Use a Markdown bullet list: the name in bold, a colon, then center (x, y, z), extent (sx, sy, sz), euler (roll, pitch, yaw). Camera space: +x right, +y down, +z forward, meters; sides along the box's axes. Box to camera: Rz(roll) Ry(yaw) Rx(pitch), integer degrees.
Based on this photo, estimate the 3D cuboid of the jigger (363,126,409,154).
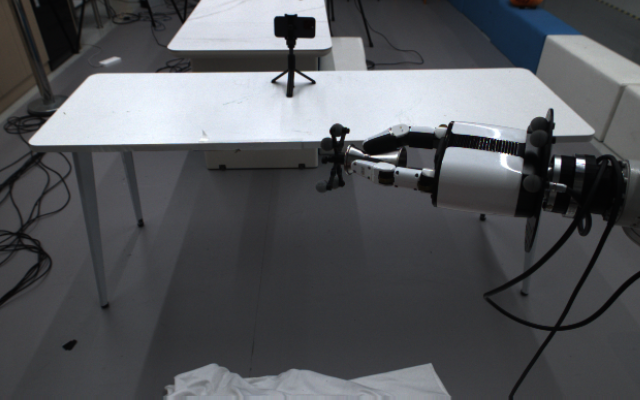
- **jigger**: center (0.074, -0.050, 0.596), extent (0.071, 0.043, 0.043), euler (8, 34, 23)
